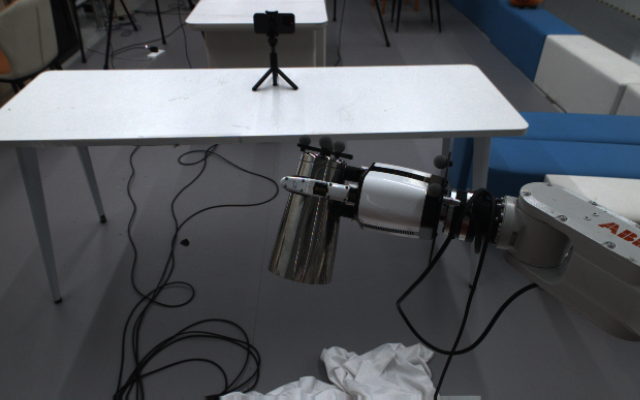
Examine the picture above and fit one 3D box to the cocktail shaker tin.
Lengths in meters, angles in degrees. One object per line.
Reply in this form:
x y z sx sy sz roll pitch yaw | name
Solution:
-0.010 0.021 0.685 0.093 0.170 0.093 13 3 -1 | cocktail shaker tin
